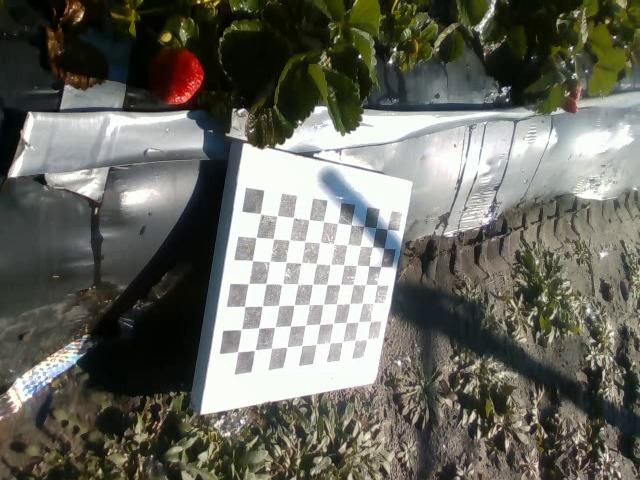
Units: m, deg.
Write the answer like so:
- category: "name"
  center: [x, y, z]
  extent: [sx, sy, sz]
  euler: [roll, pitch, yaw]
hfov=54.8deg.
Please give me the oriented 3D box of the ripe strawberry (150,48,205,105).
- category: "ripe strawberry"
  center: [-0.127, -0.140, 0.562]
  extent: [0.058, 0.065, 0.061]
  euler: [-25, -44, 14]
